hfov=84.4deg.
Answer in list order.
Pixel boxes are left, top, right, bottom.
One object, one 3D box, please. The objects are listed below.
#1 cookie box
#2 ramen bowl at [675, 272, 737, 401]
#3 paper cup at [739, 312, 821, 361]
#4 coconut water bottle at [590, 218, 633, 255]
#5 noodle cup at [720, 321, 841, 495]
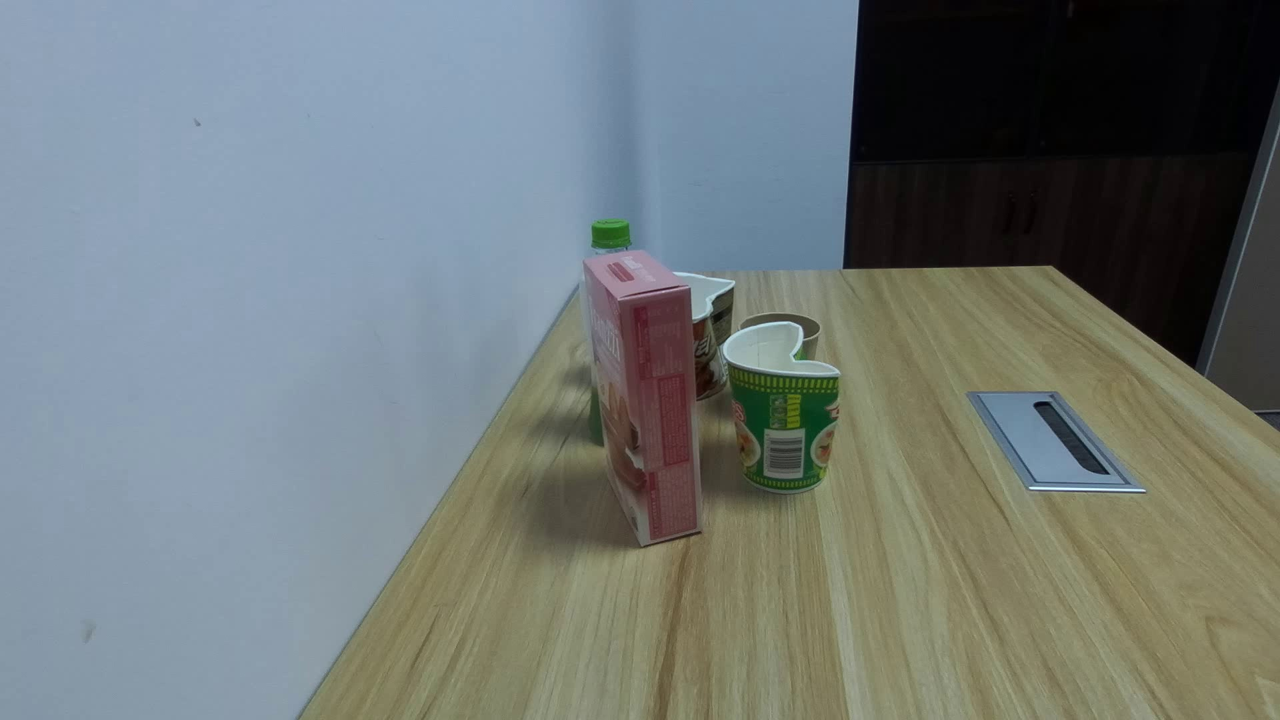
[{"bbox_3d":[0.003,0.026,0.496,0.048,0.185,0.096,-12,26,-14],"label":"cookie box"},{"bbox_3d":[0.022,-0.024,0.702,0.133,0.097,0.114,6,27,14],"label":"ramen bowl"},{"bbox_3d":[0.126,0.007,0.646,0.075,0.082,0.075,-2,21,1],"label":"paper cup"},{"bbox_3d":[-0.018,-0.030,0.619,0.063,0.189,0.063,-3,34,2],"label":"coconut water bottle"},{"bbox_3d":[0.108,0.038,0.542,0.087,0.109,0.094,3,26,14],"label":"noodle cup"}]
